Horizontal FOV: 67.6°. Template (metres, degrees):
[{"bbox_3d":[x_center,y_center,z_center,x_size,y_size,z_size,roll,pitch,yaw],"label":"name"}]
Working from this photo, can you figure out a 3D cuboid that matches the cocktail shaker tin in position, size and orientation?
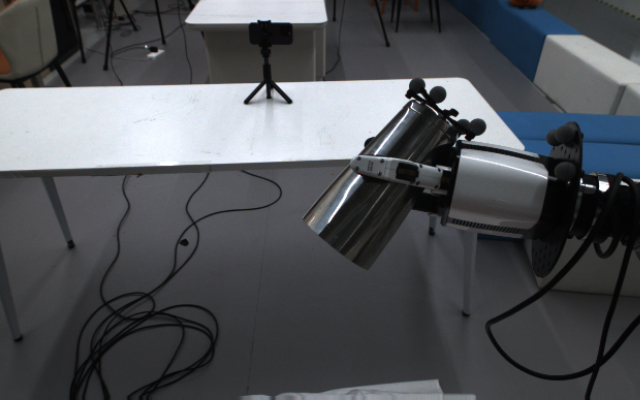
[{"bbox_3d":[0.071,-0.023,0.521,0.170,0.093,0.093,-50,46,4],"label":"cocktail shaker tin"}]
